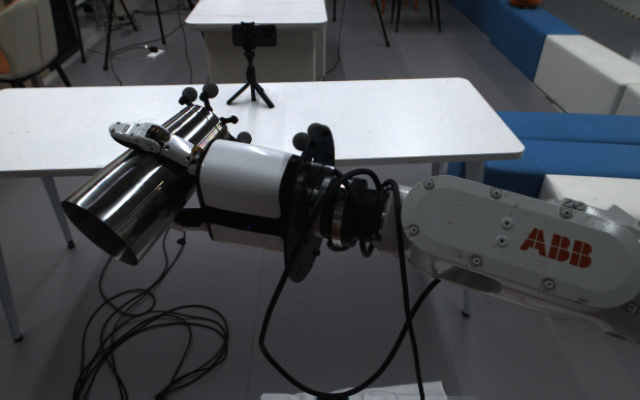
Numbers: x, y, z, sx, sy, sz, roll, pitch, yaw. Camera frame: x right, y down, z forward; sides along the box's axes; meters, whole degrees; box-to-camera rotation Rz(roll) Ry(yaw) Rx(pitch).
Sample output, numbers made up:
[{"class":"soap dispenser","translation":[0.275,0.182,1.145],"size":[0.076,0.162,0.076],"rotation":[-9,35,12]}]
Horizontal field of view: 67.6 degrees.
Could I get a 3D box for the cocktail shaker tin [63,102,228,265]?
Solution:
[{"class":"cocktail shaker tin","translation":[-0.169,-0.028,0.512],"size":[0.093,0.093,0.170],"rotation":[19,55,22]}]
